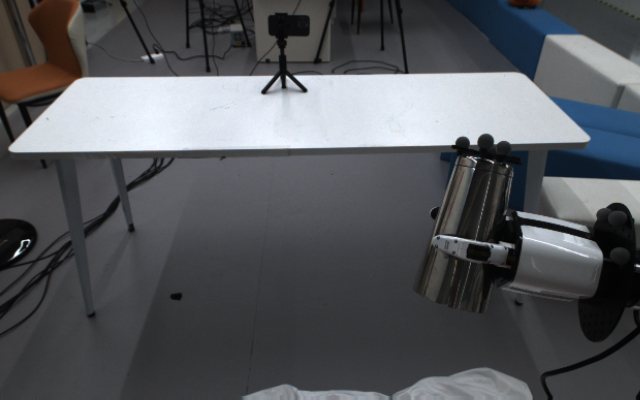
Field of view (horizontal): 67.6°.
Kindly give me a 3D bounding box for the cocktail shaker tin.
[{"bbox_3d":[0.179,0.037,0.583,0.093,0.170,0.093,13,4,-1],"label":"cocktail shaker tin"}]
